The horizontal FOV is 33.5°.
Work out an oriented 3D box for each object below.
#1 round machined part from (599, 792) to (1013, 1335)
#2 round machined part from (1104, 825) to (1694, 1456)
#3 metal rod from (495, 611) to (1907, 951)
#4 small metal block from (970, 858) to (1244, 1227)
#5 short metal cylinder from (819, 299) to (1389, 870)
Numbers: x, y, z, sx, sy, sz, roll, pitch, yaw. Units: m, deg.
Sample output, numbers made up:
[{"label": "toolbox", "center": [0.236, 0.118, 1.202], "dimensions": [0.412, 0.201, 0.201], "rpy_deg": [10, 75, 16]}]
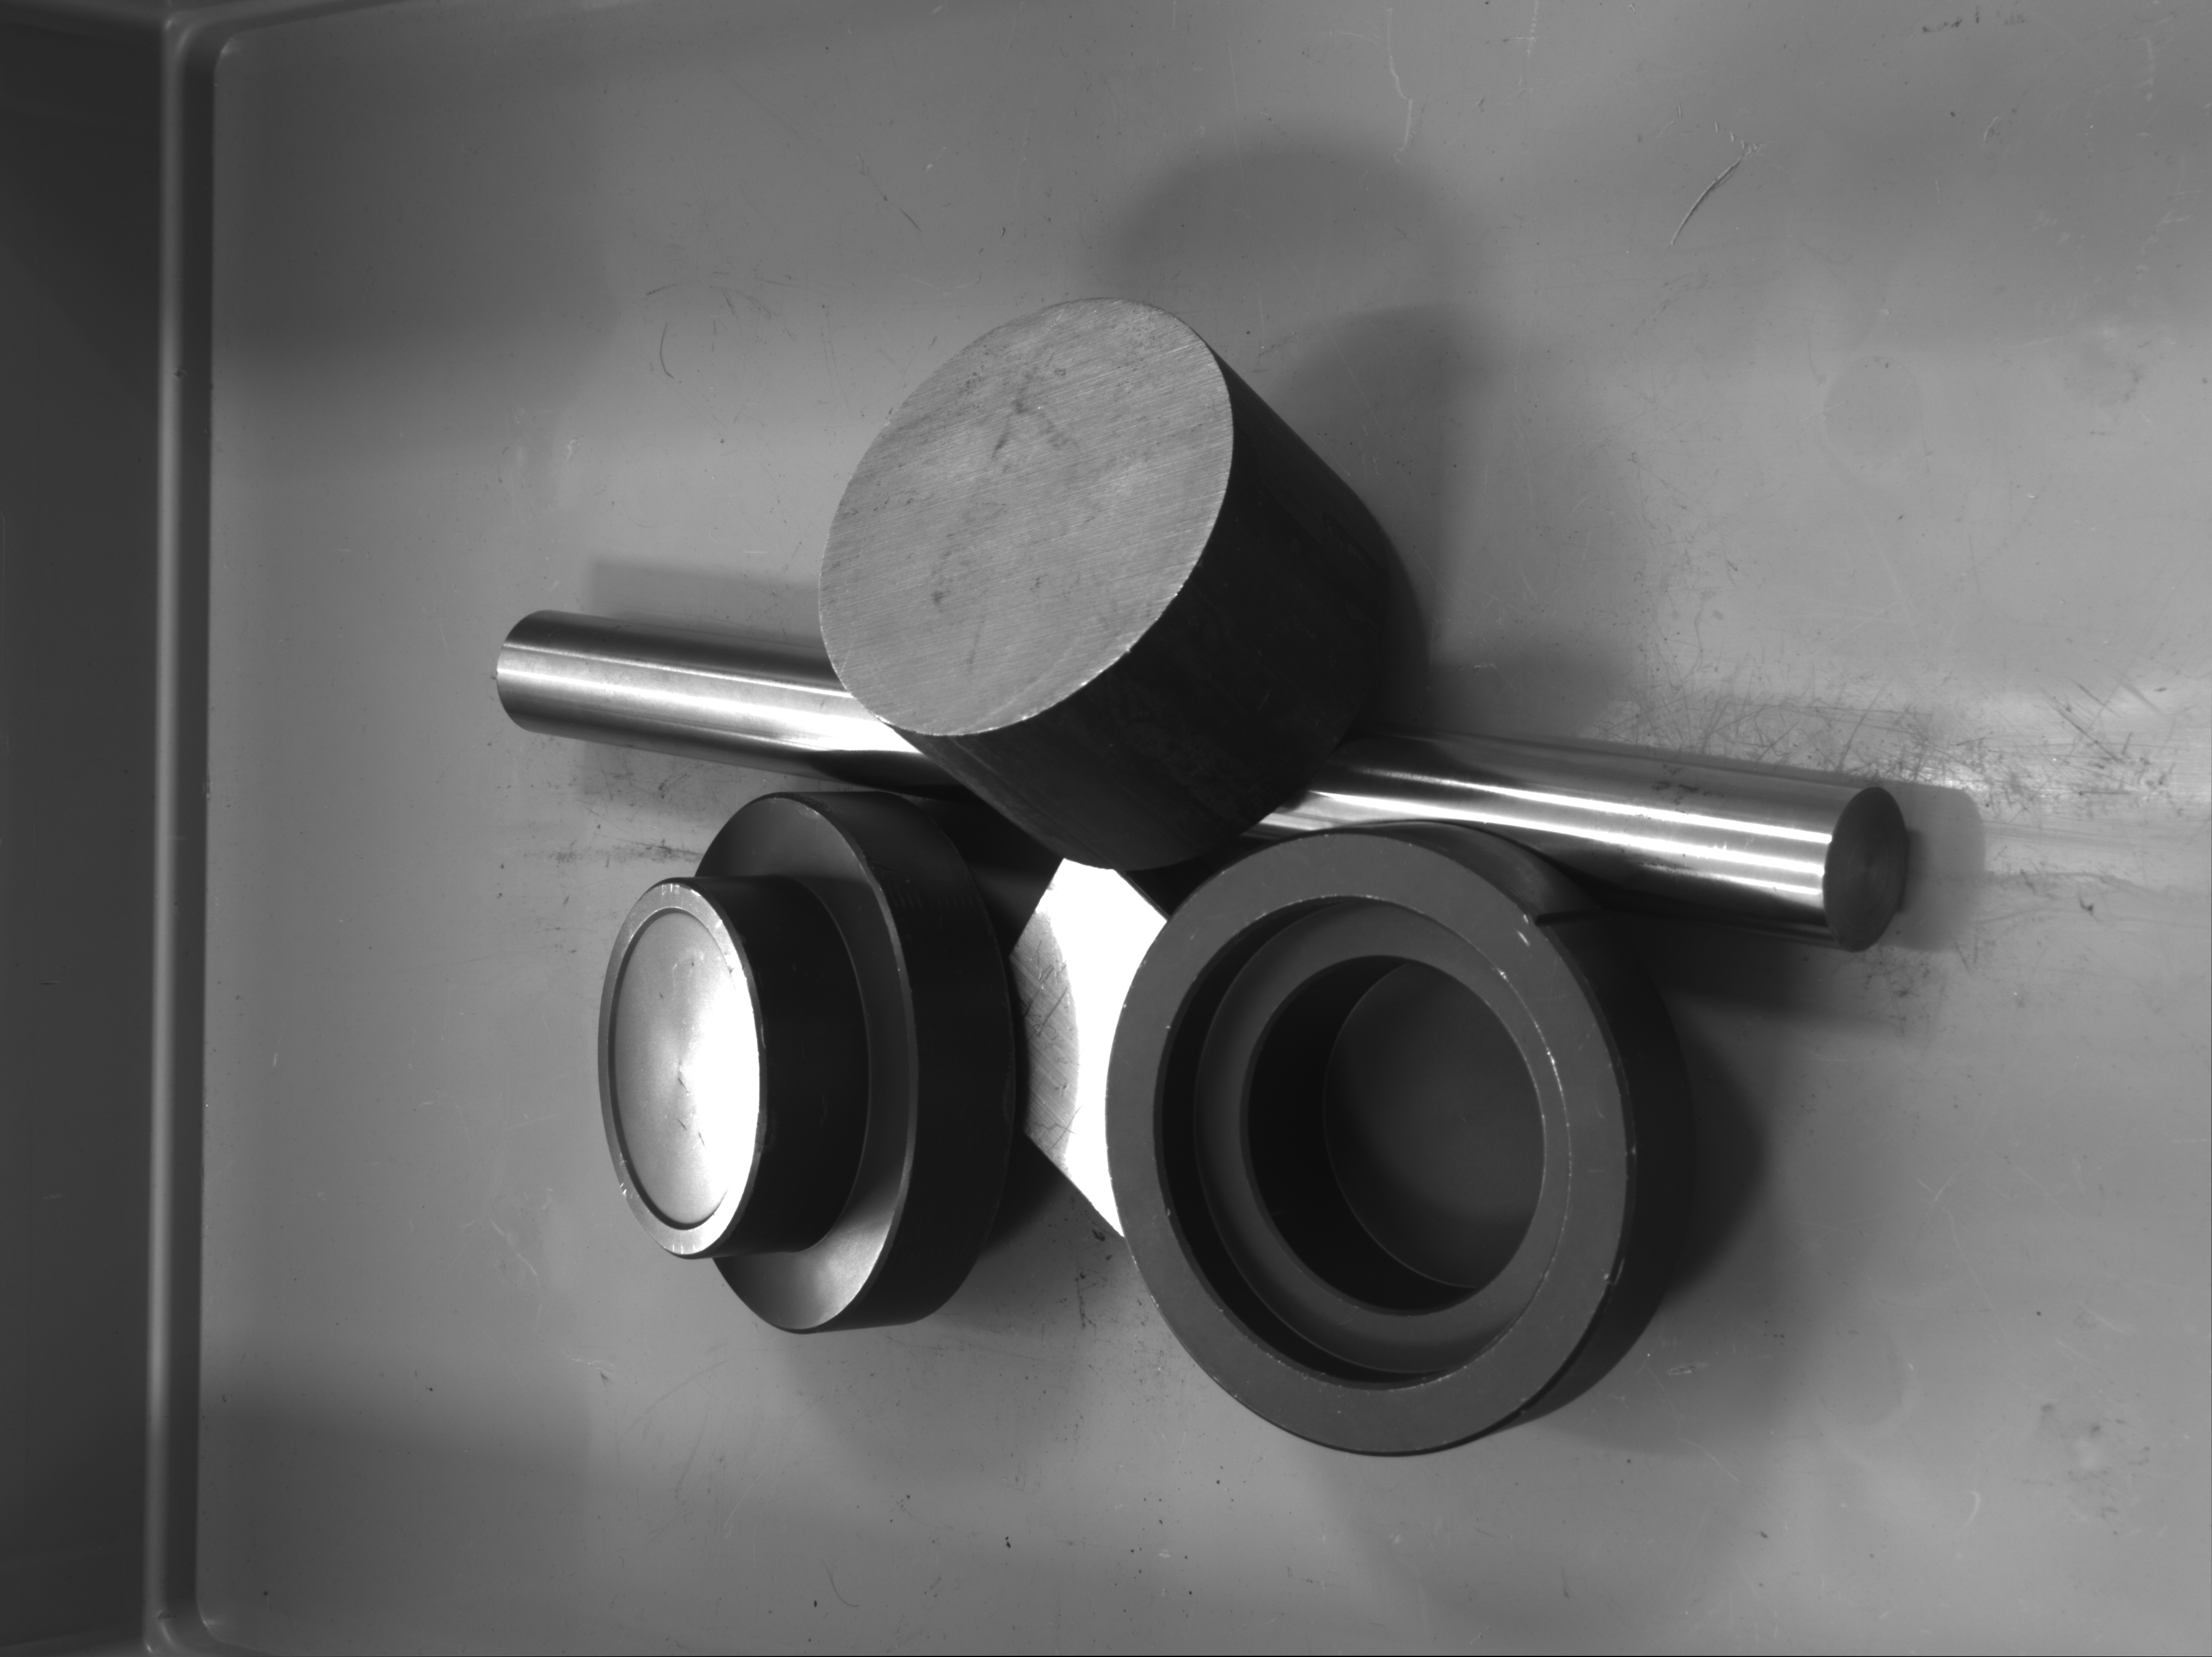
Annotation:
[{"label": "round machined part", "center": [-0.059, 0.043, 0.665], "dimensions": [0.098, 0.042, 0.098], "rpy_deg": [2, 93, 58]}, {"label": "round machined part", "center": [0.051, 0.048, 0.587], "dimensions": [0.098, 0.042, 0.098], "rpy_deg": [2, 94, 37]}, {"label": "metal rod", "center": [0.000, -0.013, 0.644], "dimensions": [0.299, 0.025, 0.025], "rpy_deg": [9, 96, 40]}, {"label": "small metal block", "center": [0.008, 0.035, 0.637], "dimensions": [0.050, 0.025, 0.050], "rpy_deg": [44, 116, 31]}, {"label": "short metal cylinder", "center": [0.000, -0.040, 0.608], "dimensions": [0.080, 0.050, 0.080], "rpy_deg": [-18, 55, 28]}]
